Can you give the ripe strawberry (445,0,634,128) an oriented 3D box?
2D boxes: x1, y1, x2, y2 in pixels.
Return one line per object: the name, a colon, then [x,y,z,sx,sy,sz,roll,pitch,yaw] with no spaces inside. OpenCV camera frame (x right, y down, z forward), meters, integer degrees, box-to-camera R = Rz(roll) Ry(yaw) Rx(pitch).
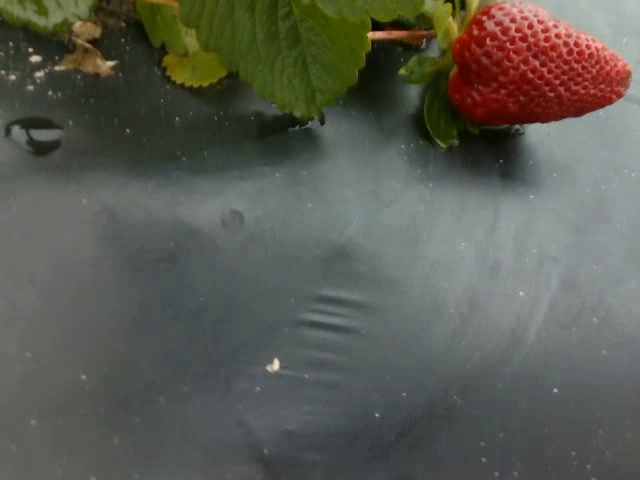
ripe strawberry: [0.072,-0.056,0.212,0.064,0.046,0.048,22,18,24]
